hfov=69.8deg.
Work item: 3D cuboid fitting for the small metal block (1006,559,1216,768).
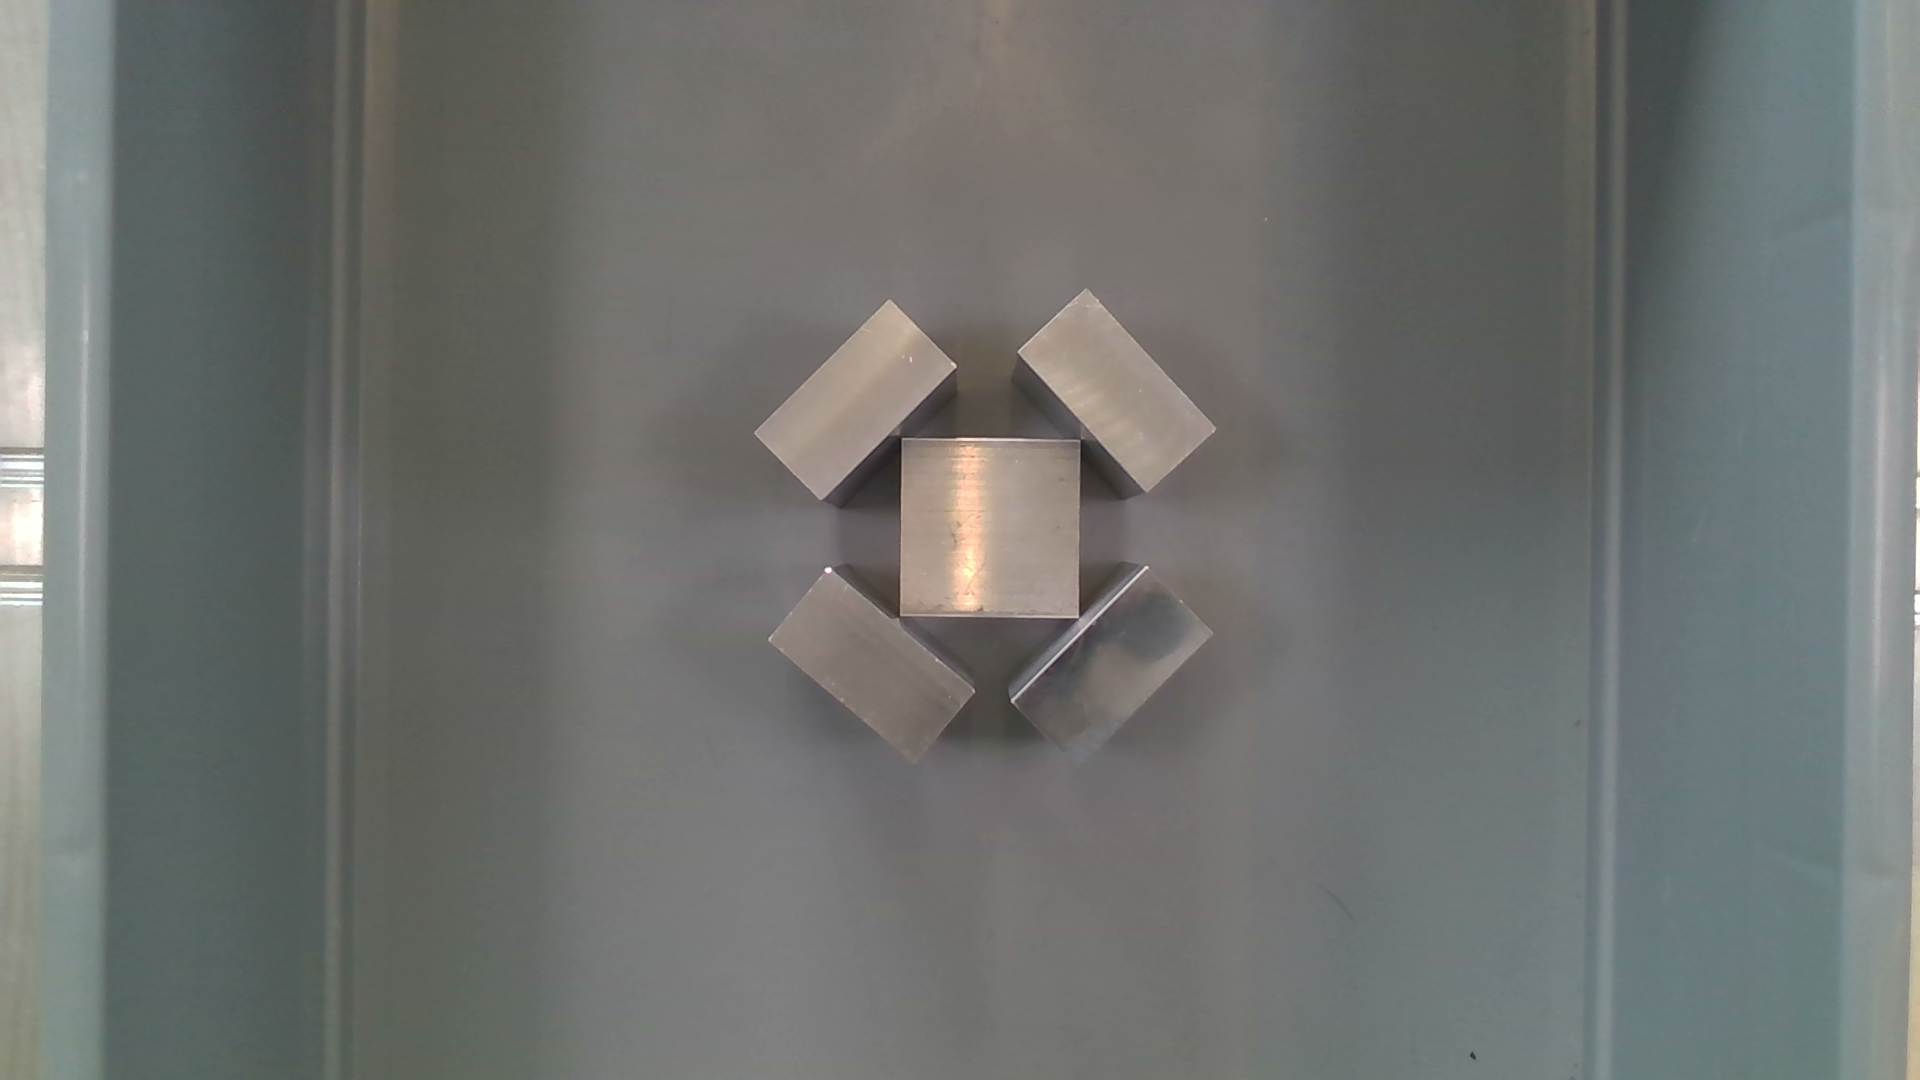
[{"bbox_3d":[0.040,0.032,0.381,0.050,0.050,0.025,-45,91,1],"label":"small metal block"}]

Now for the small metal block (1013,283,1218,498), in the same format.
[{"bbox_3d":[0.041,-0.039,0.381,0.025,0.050,0.050,-42,89,-1],"label":"small metal block"}]

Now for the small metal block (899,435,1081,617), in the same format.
[{"bbox_3d":[0.008,-0.004,0.394,0.050,0.025,0.050,1,90,0],"label":"small metal block"}]

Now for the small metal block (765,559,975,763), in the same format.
[{"bbox_3d":[-0.023,0.032,0.381,0.050,0.050,0.025,40,91,-1],"label":"small metal block"}]

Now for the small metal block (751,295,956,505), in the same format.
[{"bbox_3d":[-0.027,-0.037,0.381,0.050,0.050,0.025,-45,89,0],"label":"small metal block"}]
